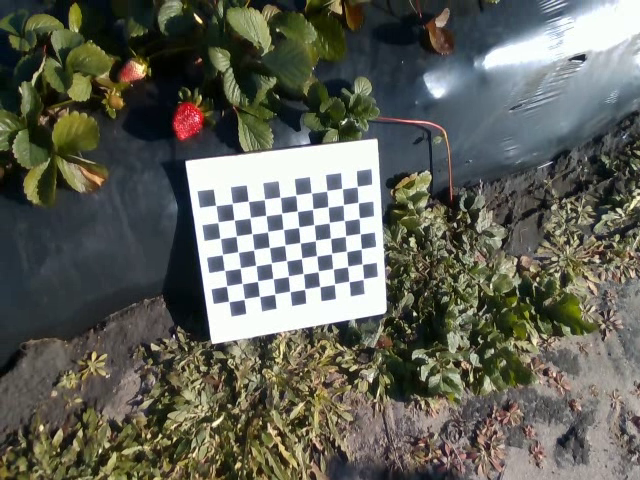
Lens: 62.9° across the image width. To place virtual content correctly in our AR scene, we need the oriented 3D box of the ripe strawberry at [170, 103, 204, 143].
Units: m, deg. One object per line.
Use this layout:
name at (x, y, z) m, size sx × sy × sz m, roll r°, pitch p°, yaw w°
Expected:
ripe strawberry at (-0.189, -0.143, 0.678) m, size 0.066 × 0.061 × 0.058 m, roll 34°, pitch -56°, yaw -22°
